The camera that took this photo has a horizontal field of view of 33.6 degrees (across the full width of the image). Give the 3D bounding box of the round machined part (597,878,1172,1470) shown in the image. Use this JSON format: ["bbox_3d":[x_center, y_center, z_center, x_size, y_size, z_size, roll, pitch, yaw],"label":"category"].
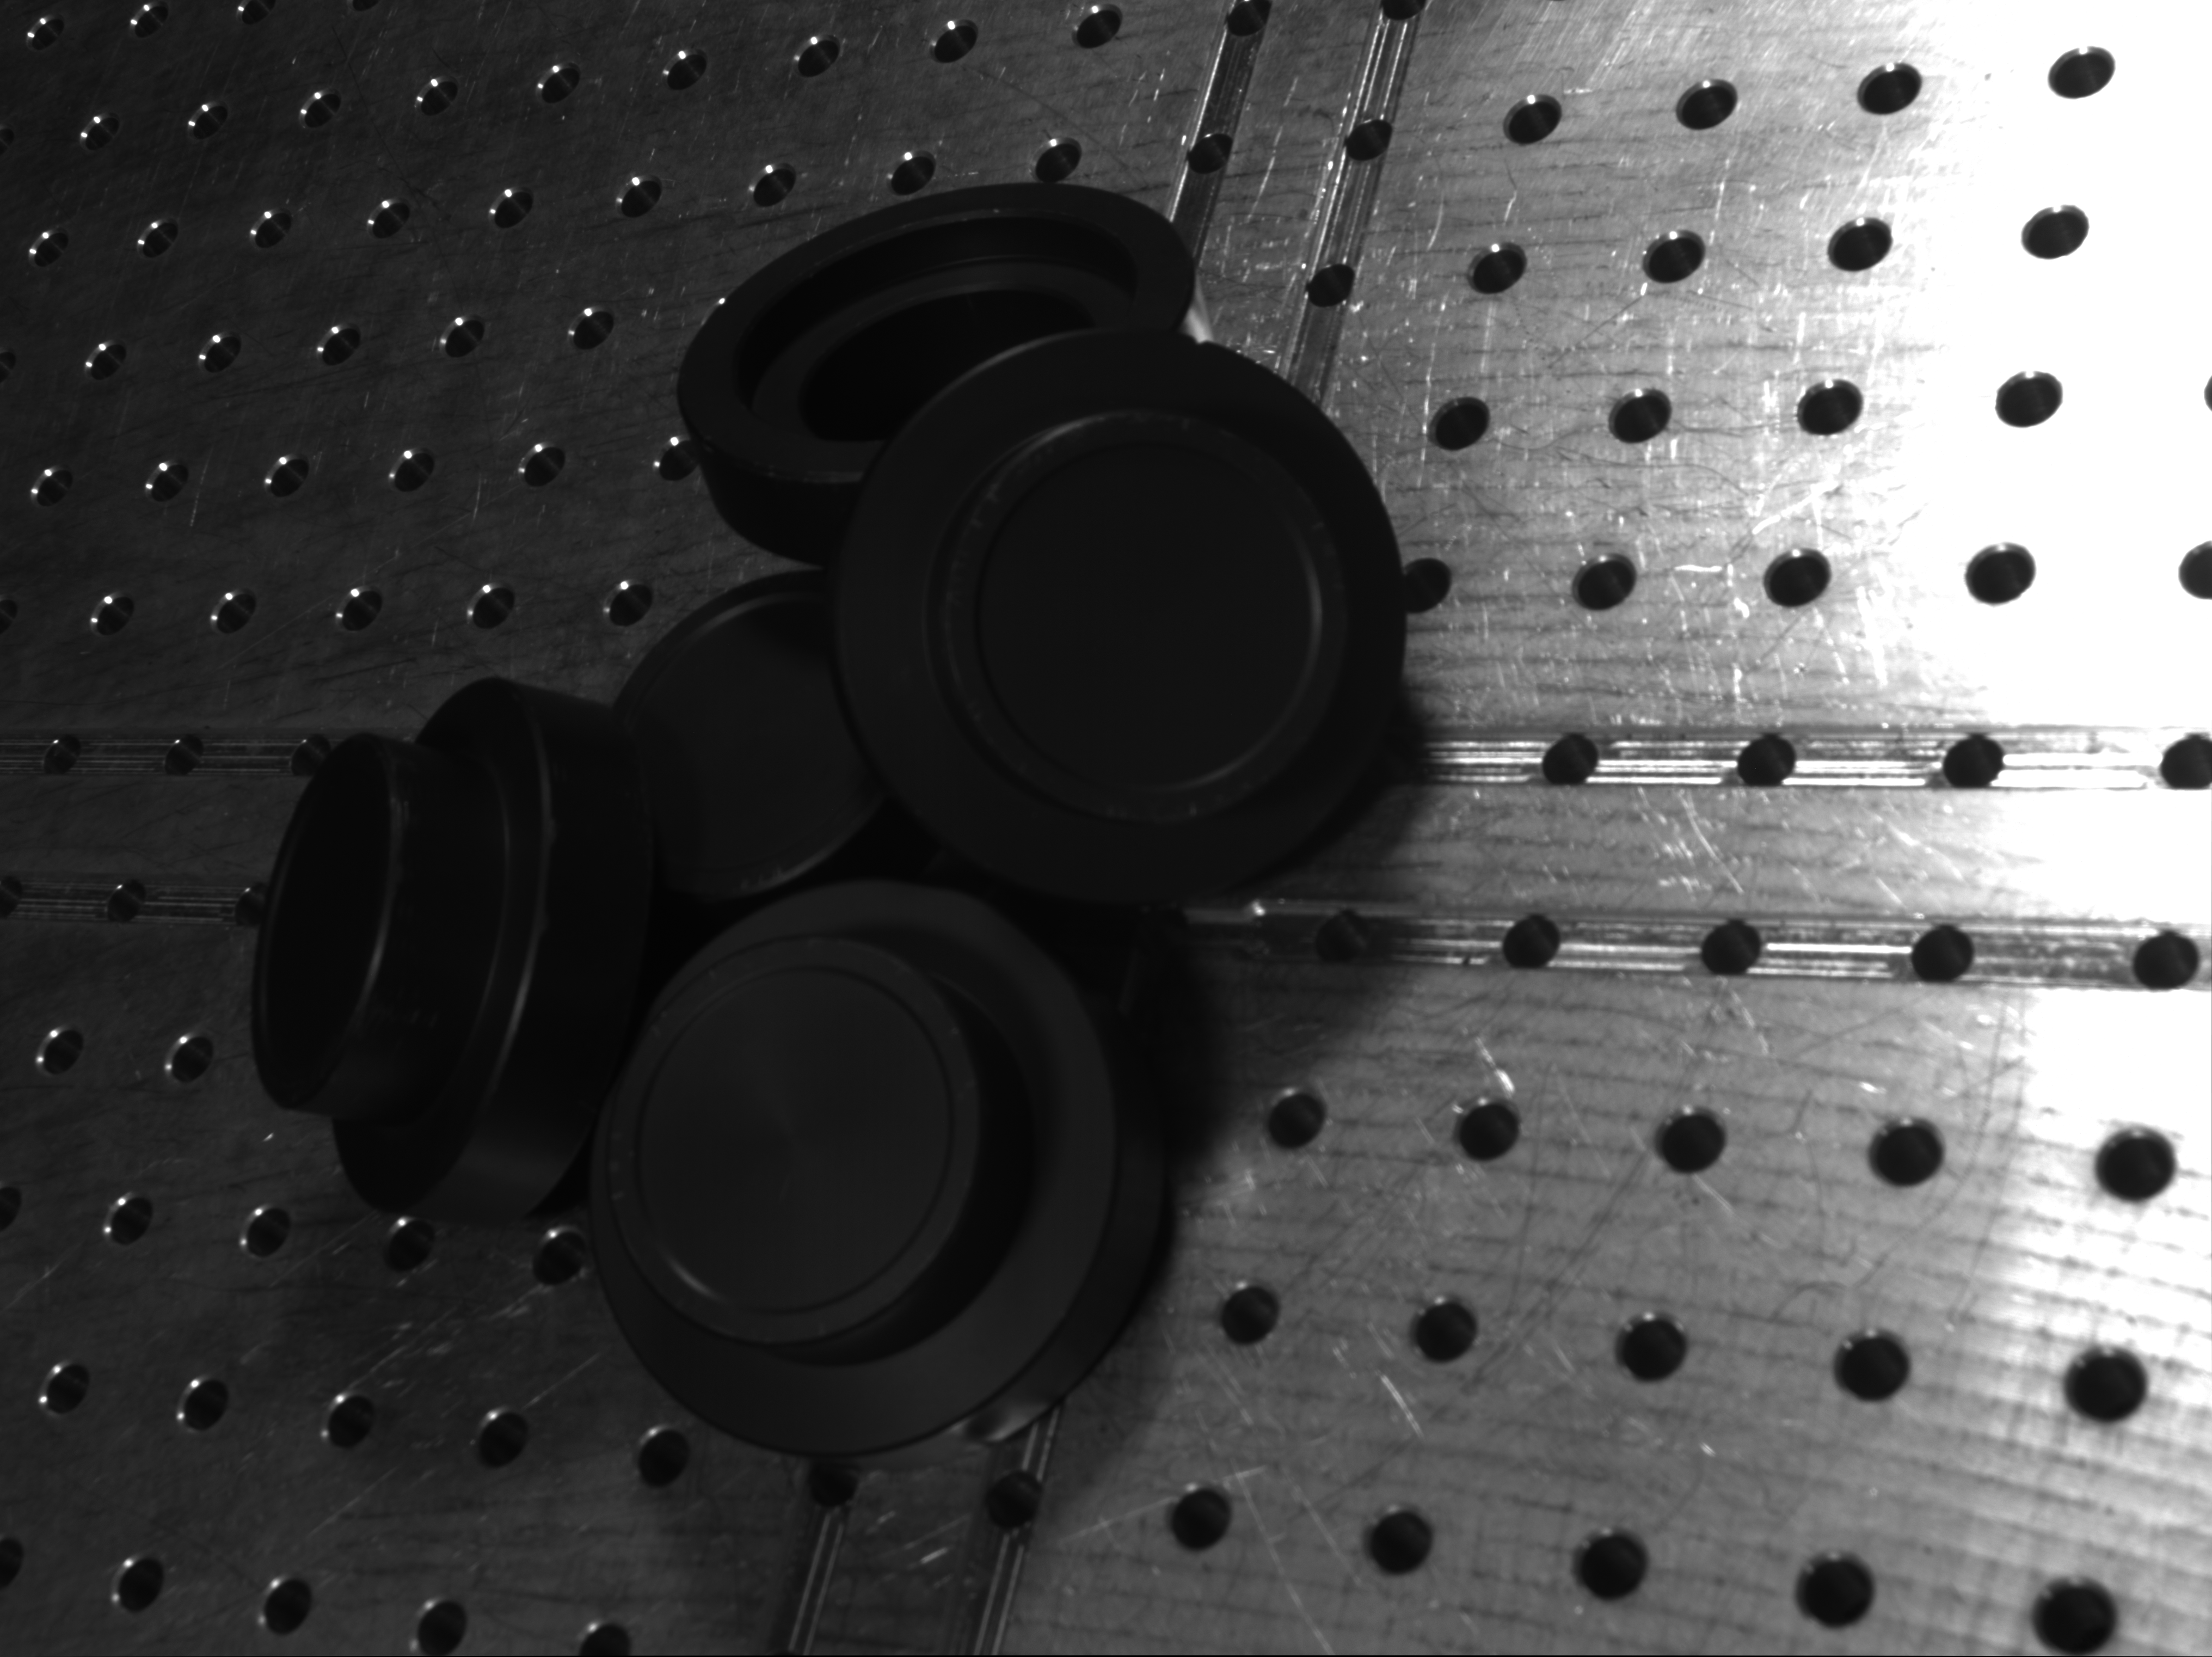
[{"bbox_3d":[-0.042,0.055,0.609,0.098,0.042,0.098,-7,71,20],"label":"round machined part"}]

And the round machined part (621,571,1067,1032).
[{"bbox_3d":[-0.053,-0.008,0.668,0.098,0.042,0.098,-13,56,21],"label":"round machined part"}]

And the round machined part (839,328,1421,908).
[{"bbox_3d":[0.006,-0.035,0.617,0.098,0.098,0.042,-47,10,-5],"label":"round machined part"}]

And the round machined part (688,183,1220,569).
[{"bbox_3d":[-0.025,-0.077,0.683,0.098,0.042,0.098,-10,38,8],"label":"round machined part"}]

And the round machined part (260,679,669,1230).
[{"bbox_3d":[-0.119,0.020,0.657,0.098,0.042,0.098,-31,52,50],"label":"round machined part"}]
